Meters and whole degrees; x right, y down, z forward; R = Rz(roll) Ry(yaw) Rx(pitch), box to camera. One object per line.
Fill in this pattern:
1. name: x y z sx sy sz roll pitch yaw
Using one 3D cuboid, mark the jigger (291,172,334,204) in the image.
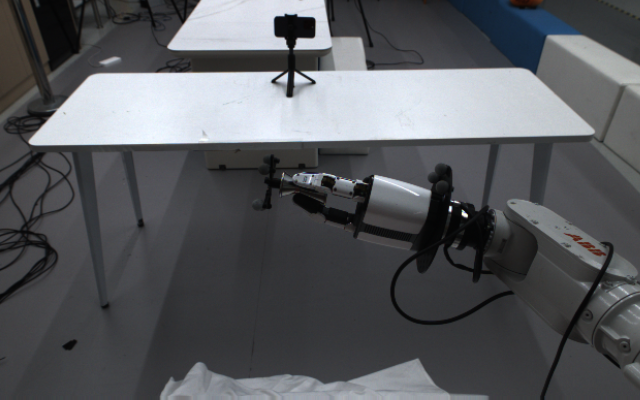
1. jigger: -0.016 -0.021 0.706 0.071 0.043 0.043 9 35 1
